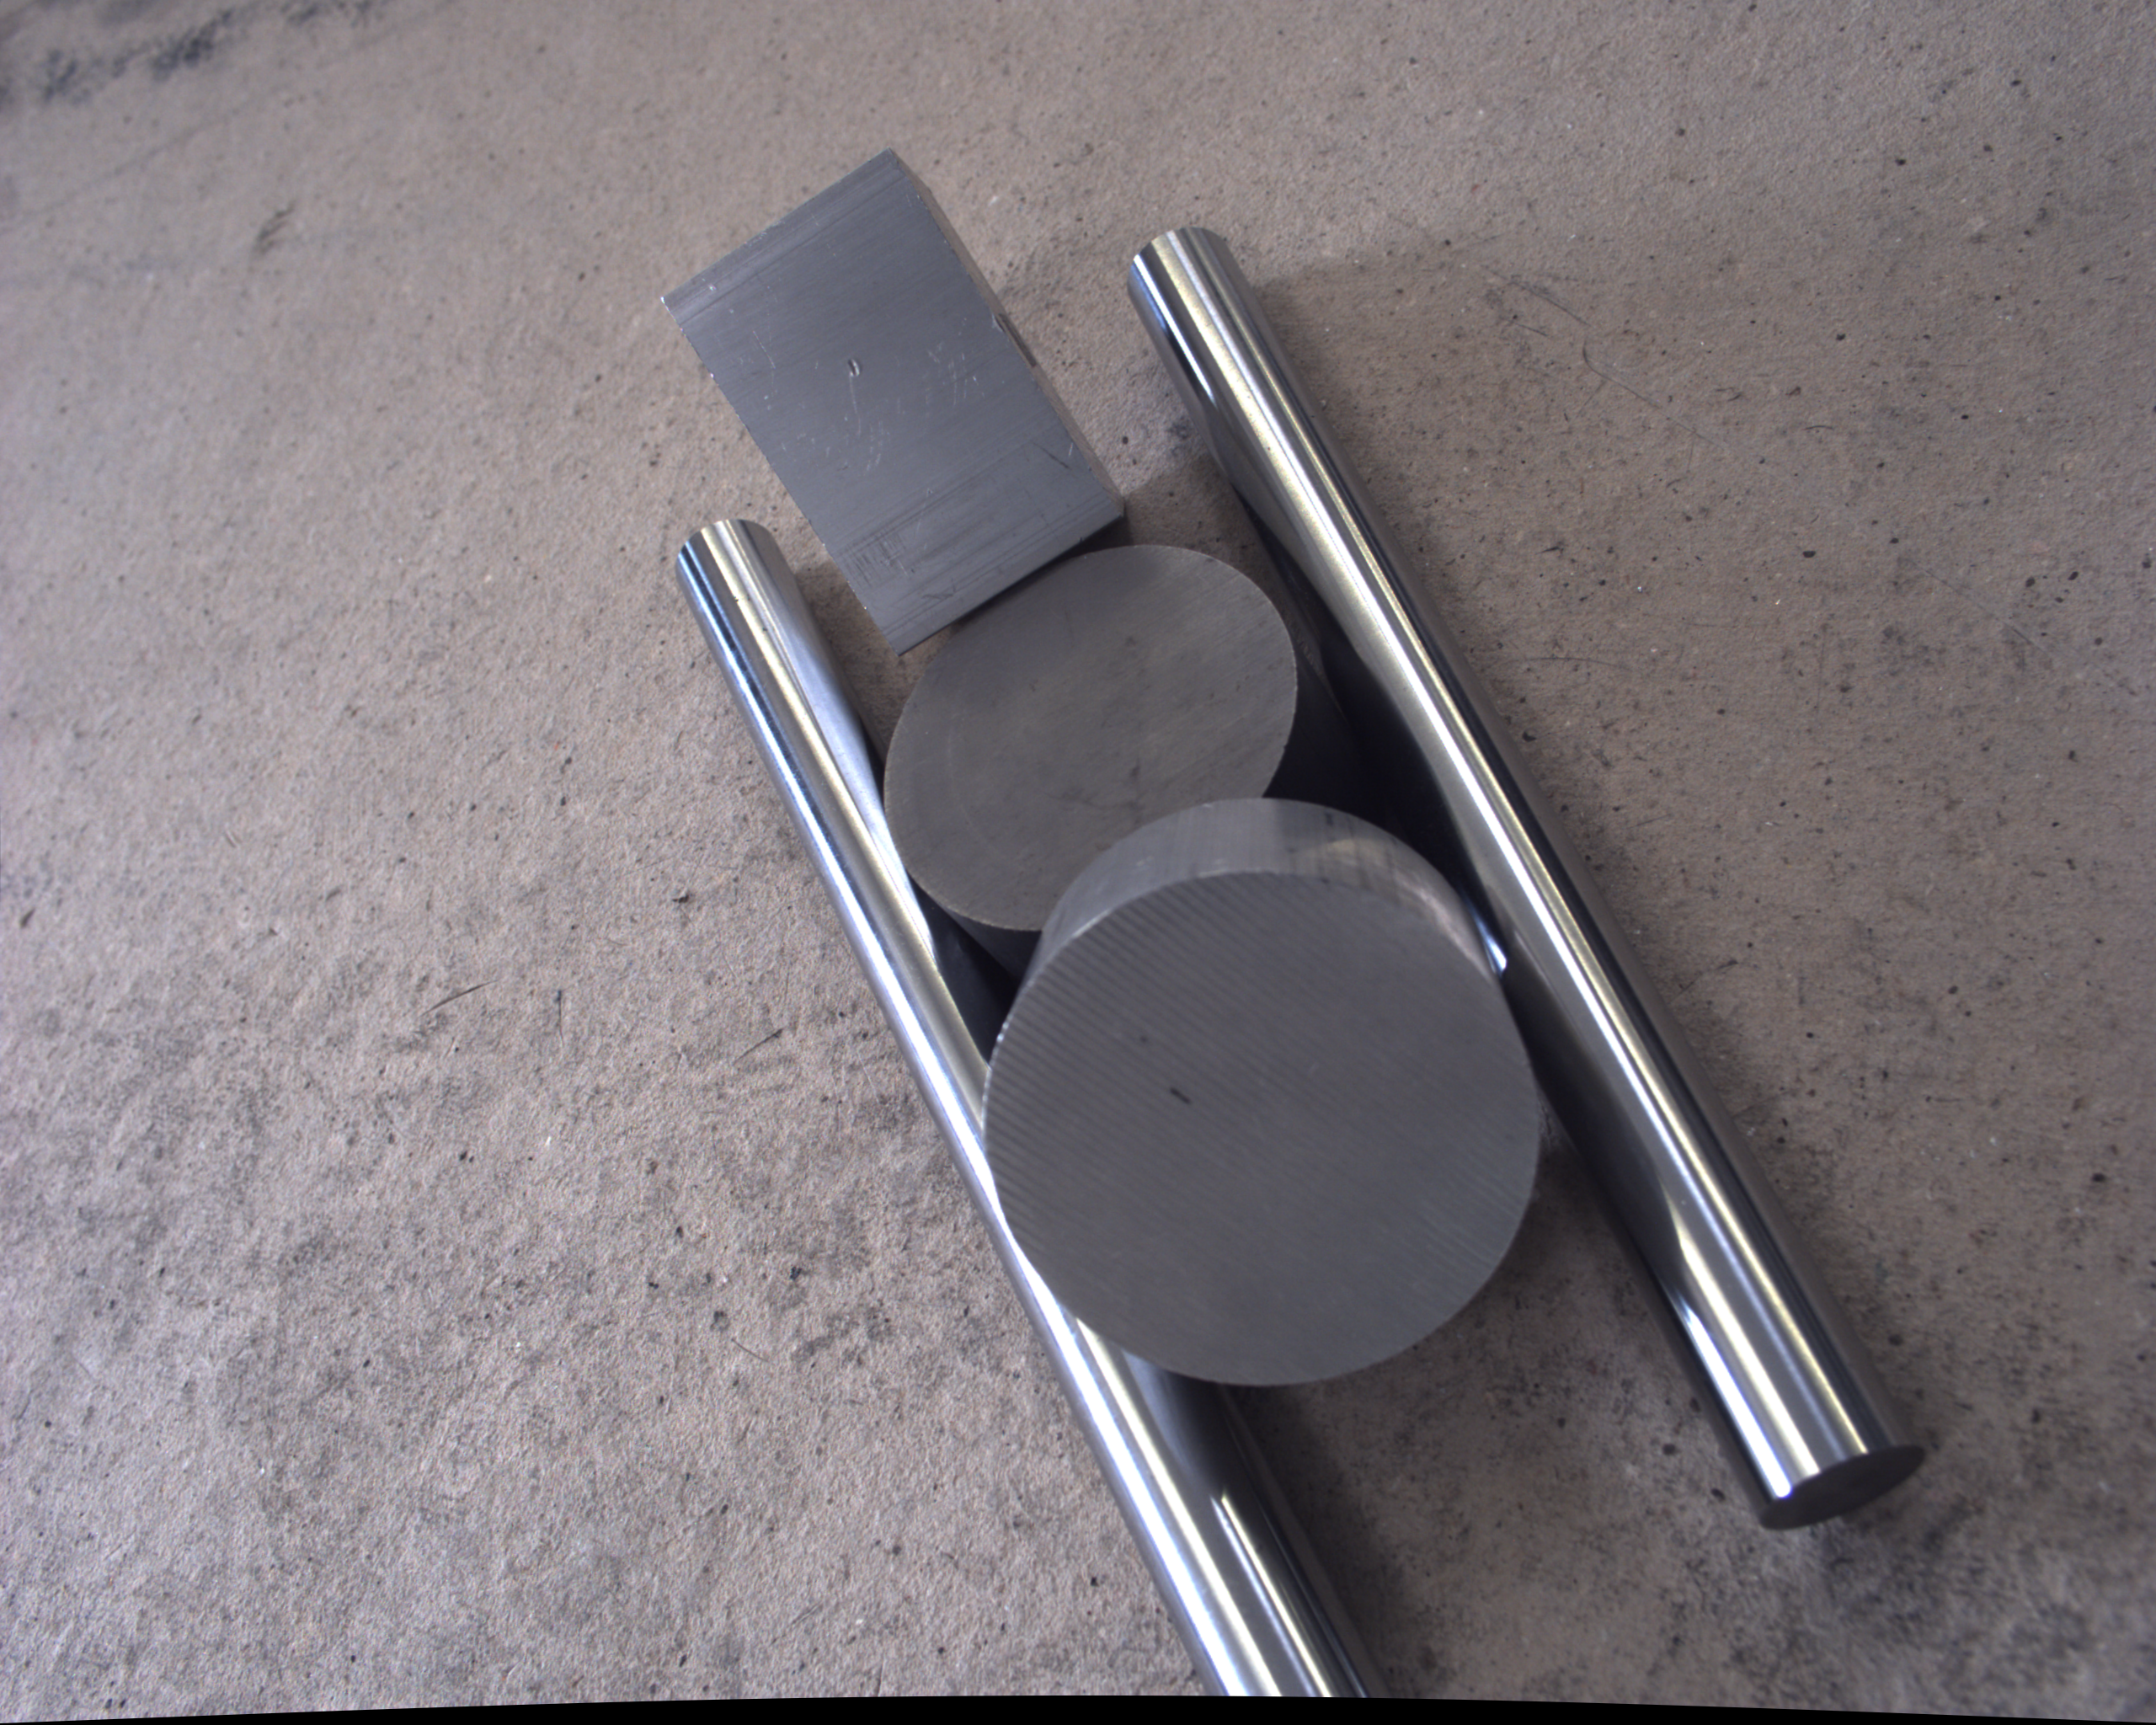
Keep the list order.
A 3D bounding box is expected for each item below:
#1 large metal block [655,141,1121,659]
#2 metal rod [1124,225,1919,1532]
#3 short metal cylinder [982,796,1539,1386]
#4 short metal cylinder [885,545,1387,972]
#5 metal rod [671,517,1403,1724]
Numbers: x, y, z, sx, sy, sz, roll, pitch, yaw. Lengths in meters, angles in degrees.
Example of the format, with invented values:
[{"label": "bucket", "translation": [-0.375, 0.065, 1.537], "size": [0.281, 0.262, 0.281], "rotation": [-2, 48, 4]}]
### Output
[{"label": "large metal block", "translation": [-0.034, -0.093, 0.425], "size": [0.050, 0.080, 0.080], "rotation": [-32, 10, 8]}, {"label": "metal rod", "translation": [0.065, -0.023, 0.385], "size": [0.025, 0.025, 0.299], "rotation": [-28, 52, 10]}, {"label": "short metal cylinder", "translation": [0.028, 0.034, 0.327], "size": [0.080, 0.080, 0.050], "rotation": [-28, 10, 10]}, {"label": "short metal cylinder", "translation": [0.011, -0.012, 0.391], "size": [0.080, 0.050, 0.080], "rotation": [-13, 56, 21]}, {"label": "metal rod", "translation": [-0.024, 0.029, 0.399], "size": [0.025, 0.025, 0.300], "rotation": [-35, 51, 5]}]
